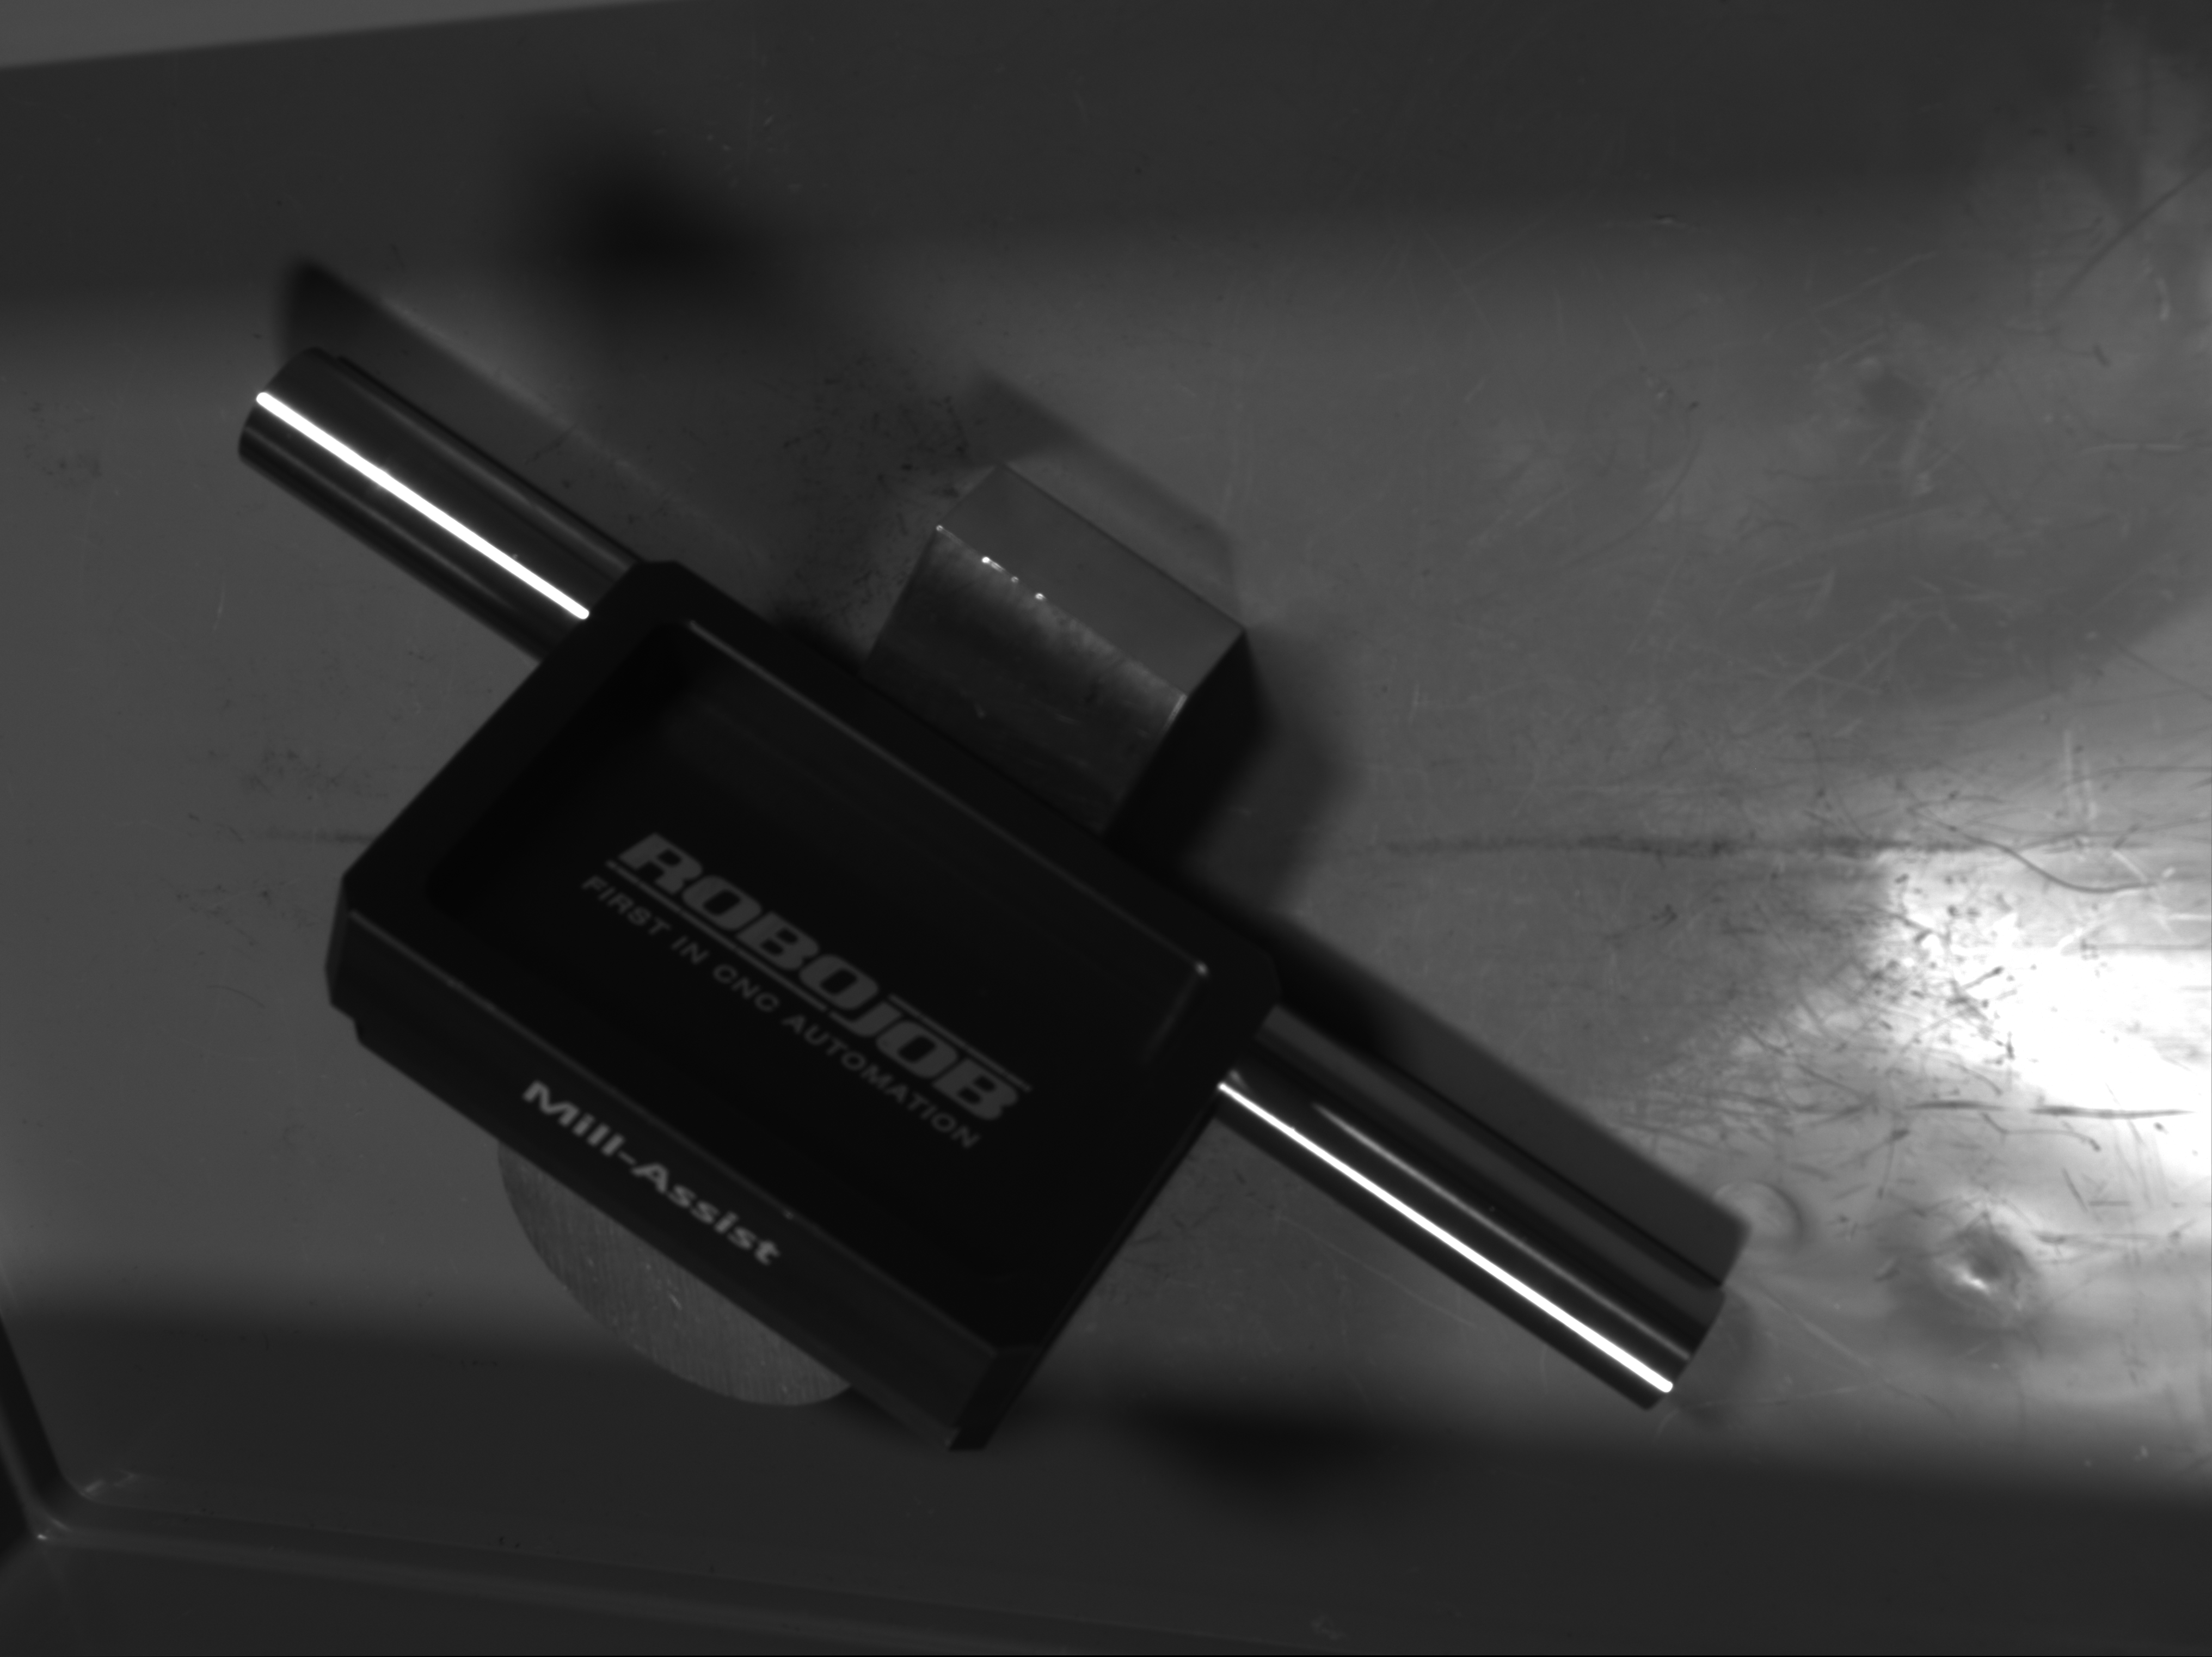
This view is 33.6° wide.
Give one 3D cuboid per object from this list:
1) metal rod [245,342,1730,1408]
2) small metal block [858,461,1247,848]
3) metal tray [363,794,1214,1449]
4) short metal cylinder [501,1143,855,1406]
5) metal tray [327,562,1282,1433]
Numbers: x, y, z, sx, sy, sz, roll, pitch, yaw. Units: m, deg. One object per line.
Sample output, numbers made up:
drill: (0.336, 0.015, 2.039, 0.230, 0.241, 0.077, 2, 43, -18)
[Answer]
metal rod: (-0.023, 0.006, 0.647, 0.300, 0.025, 0.025, 34, 128, 5)
small metal block: (-0.012, -0.025, 0.621, 0.050, 0.025, 0.050, 35, 128, 4)
metal tray: (-0.052, 0.038, 0.638, 0.130, 0.090, 0.030, 34, 128, 5)
short metal cylinder: (-0.064, 0.059, 0.674, 0.080, 0.050, 0.080, 18, 133, 20)
metal tray: (-0.048, 0.025, 0.596, 0.130, 0.090, 0.030, 34, 145, 5)
